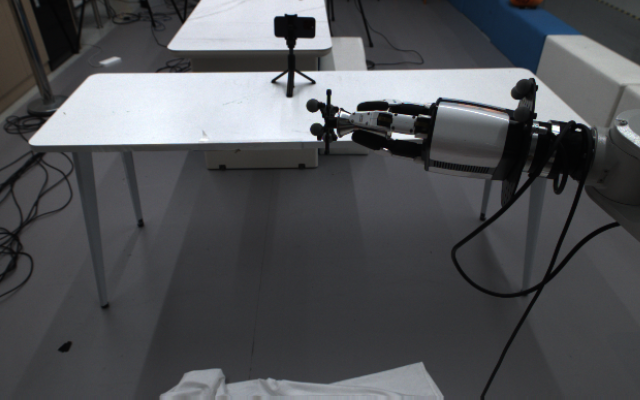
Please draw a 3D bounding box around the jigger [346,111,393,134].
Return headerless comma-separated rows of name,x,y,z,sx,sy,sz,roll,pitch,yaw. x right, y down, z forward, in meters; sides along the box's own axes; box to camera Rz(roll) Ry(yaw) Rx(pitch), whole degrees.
jigger,0.067,-0.107,0.647,0.071,0.043,0.043,3,34,17
